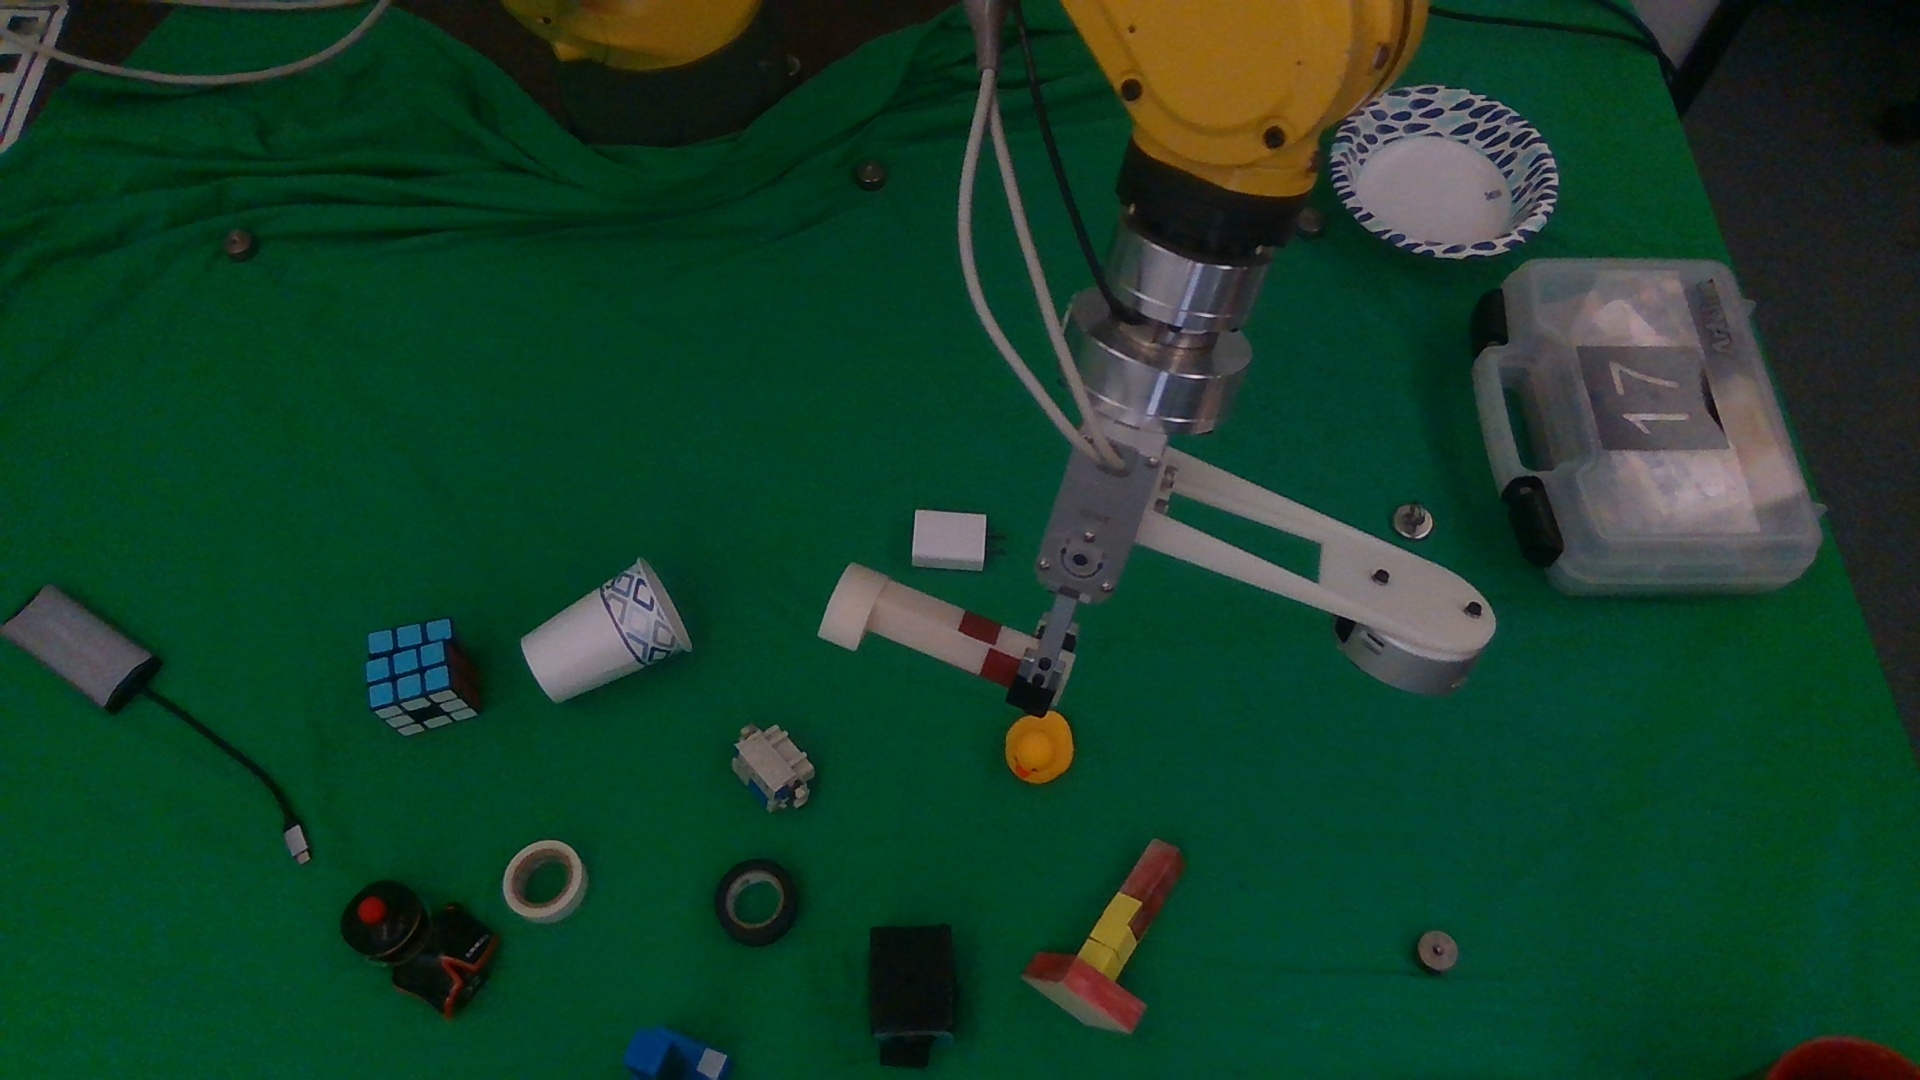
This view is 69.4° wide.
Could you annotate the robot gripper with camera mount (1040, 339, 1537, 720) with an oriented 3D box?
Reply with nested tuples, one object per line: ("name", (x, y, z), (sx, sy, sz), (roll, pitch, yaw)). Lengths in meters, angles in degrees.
("robot gripper with camera mount", (0.145, 0.033, 0.622), (0.193, 0.159, 0.119), (20, 35, 3))

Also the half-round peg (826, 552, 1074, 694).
("half-round peg", (0.000, 0.044, 0.671), (0.122, 0.031, 0.054), (22, 36, 5))
